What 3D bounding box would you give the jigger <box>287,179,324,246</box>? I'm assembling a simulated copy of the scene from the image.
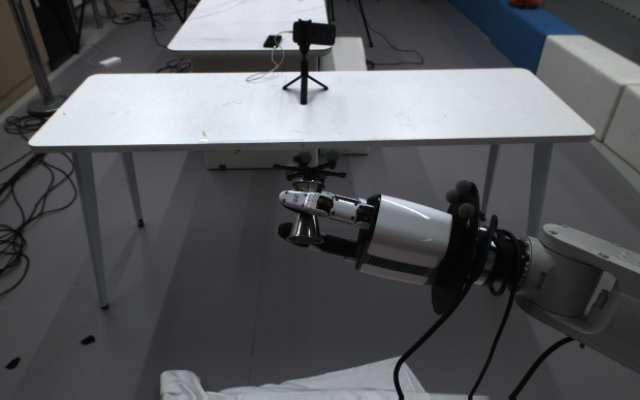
[{"bbox_3d":[-0.016,0.014,0.572,0.043,0.043,0.071,3,75,1],"label":"jigger"}]
